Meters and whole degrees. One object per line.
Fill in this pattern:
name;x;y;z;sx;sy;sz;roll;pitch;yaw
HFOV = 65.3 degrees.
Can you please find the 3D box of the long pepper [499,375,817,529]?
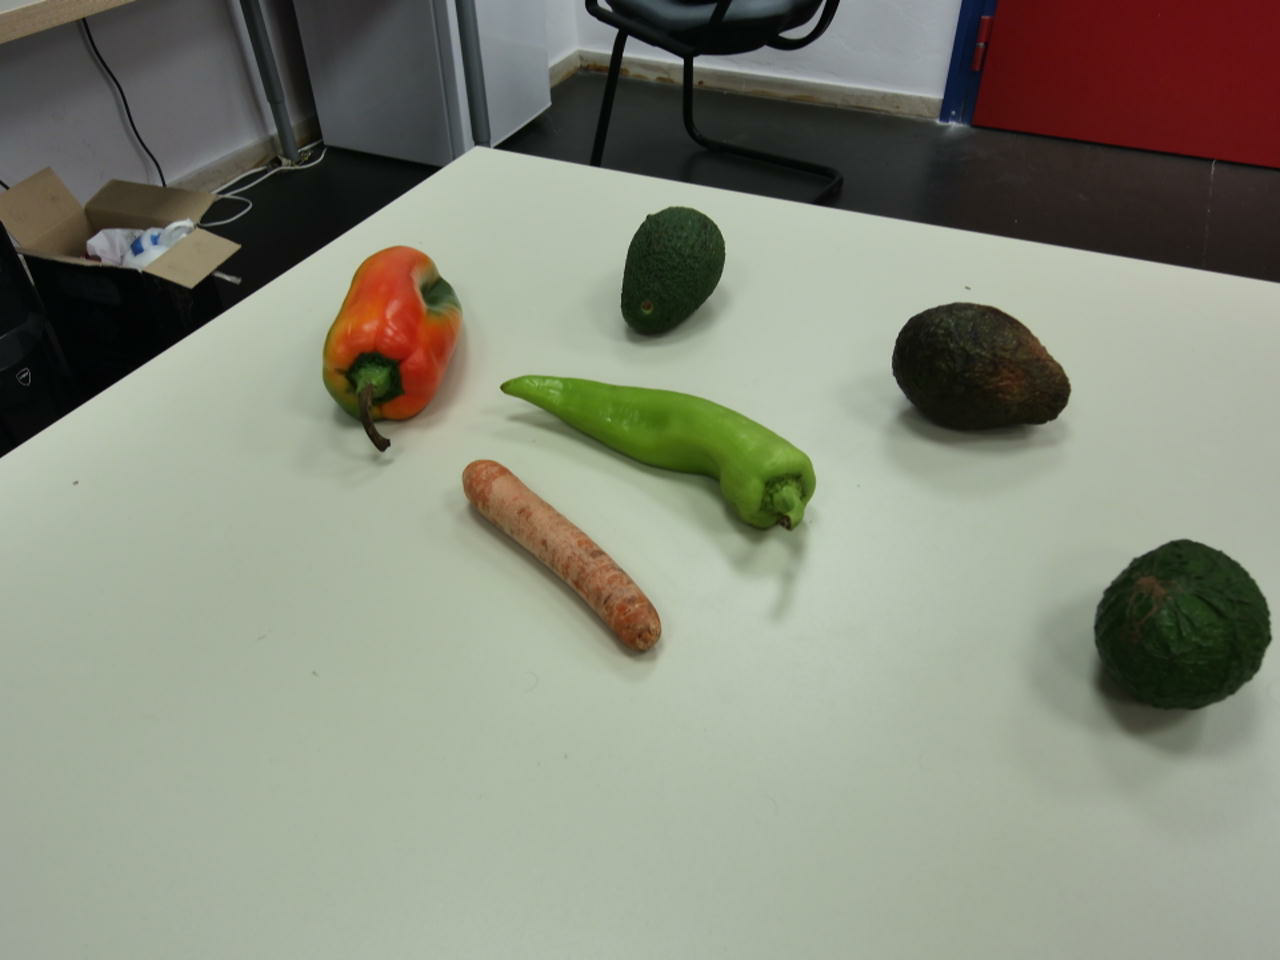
long pepper;0.016;-0.026;0.551;0.205;0.045;0.065;28;46;32
